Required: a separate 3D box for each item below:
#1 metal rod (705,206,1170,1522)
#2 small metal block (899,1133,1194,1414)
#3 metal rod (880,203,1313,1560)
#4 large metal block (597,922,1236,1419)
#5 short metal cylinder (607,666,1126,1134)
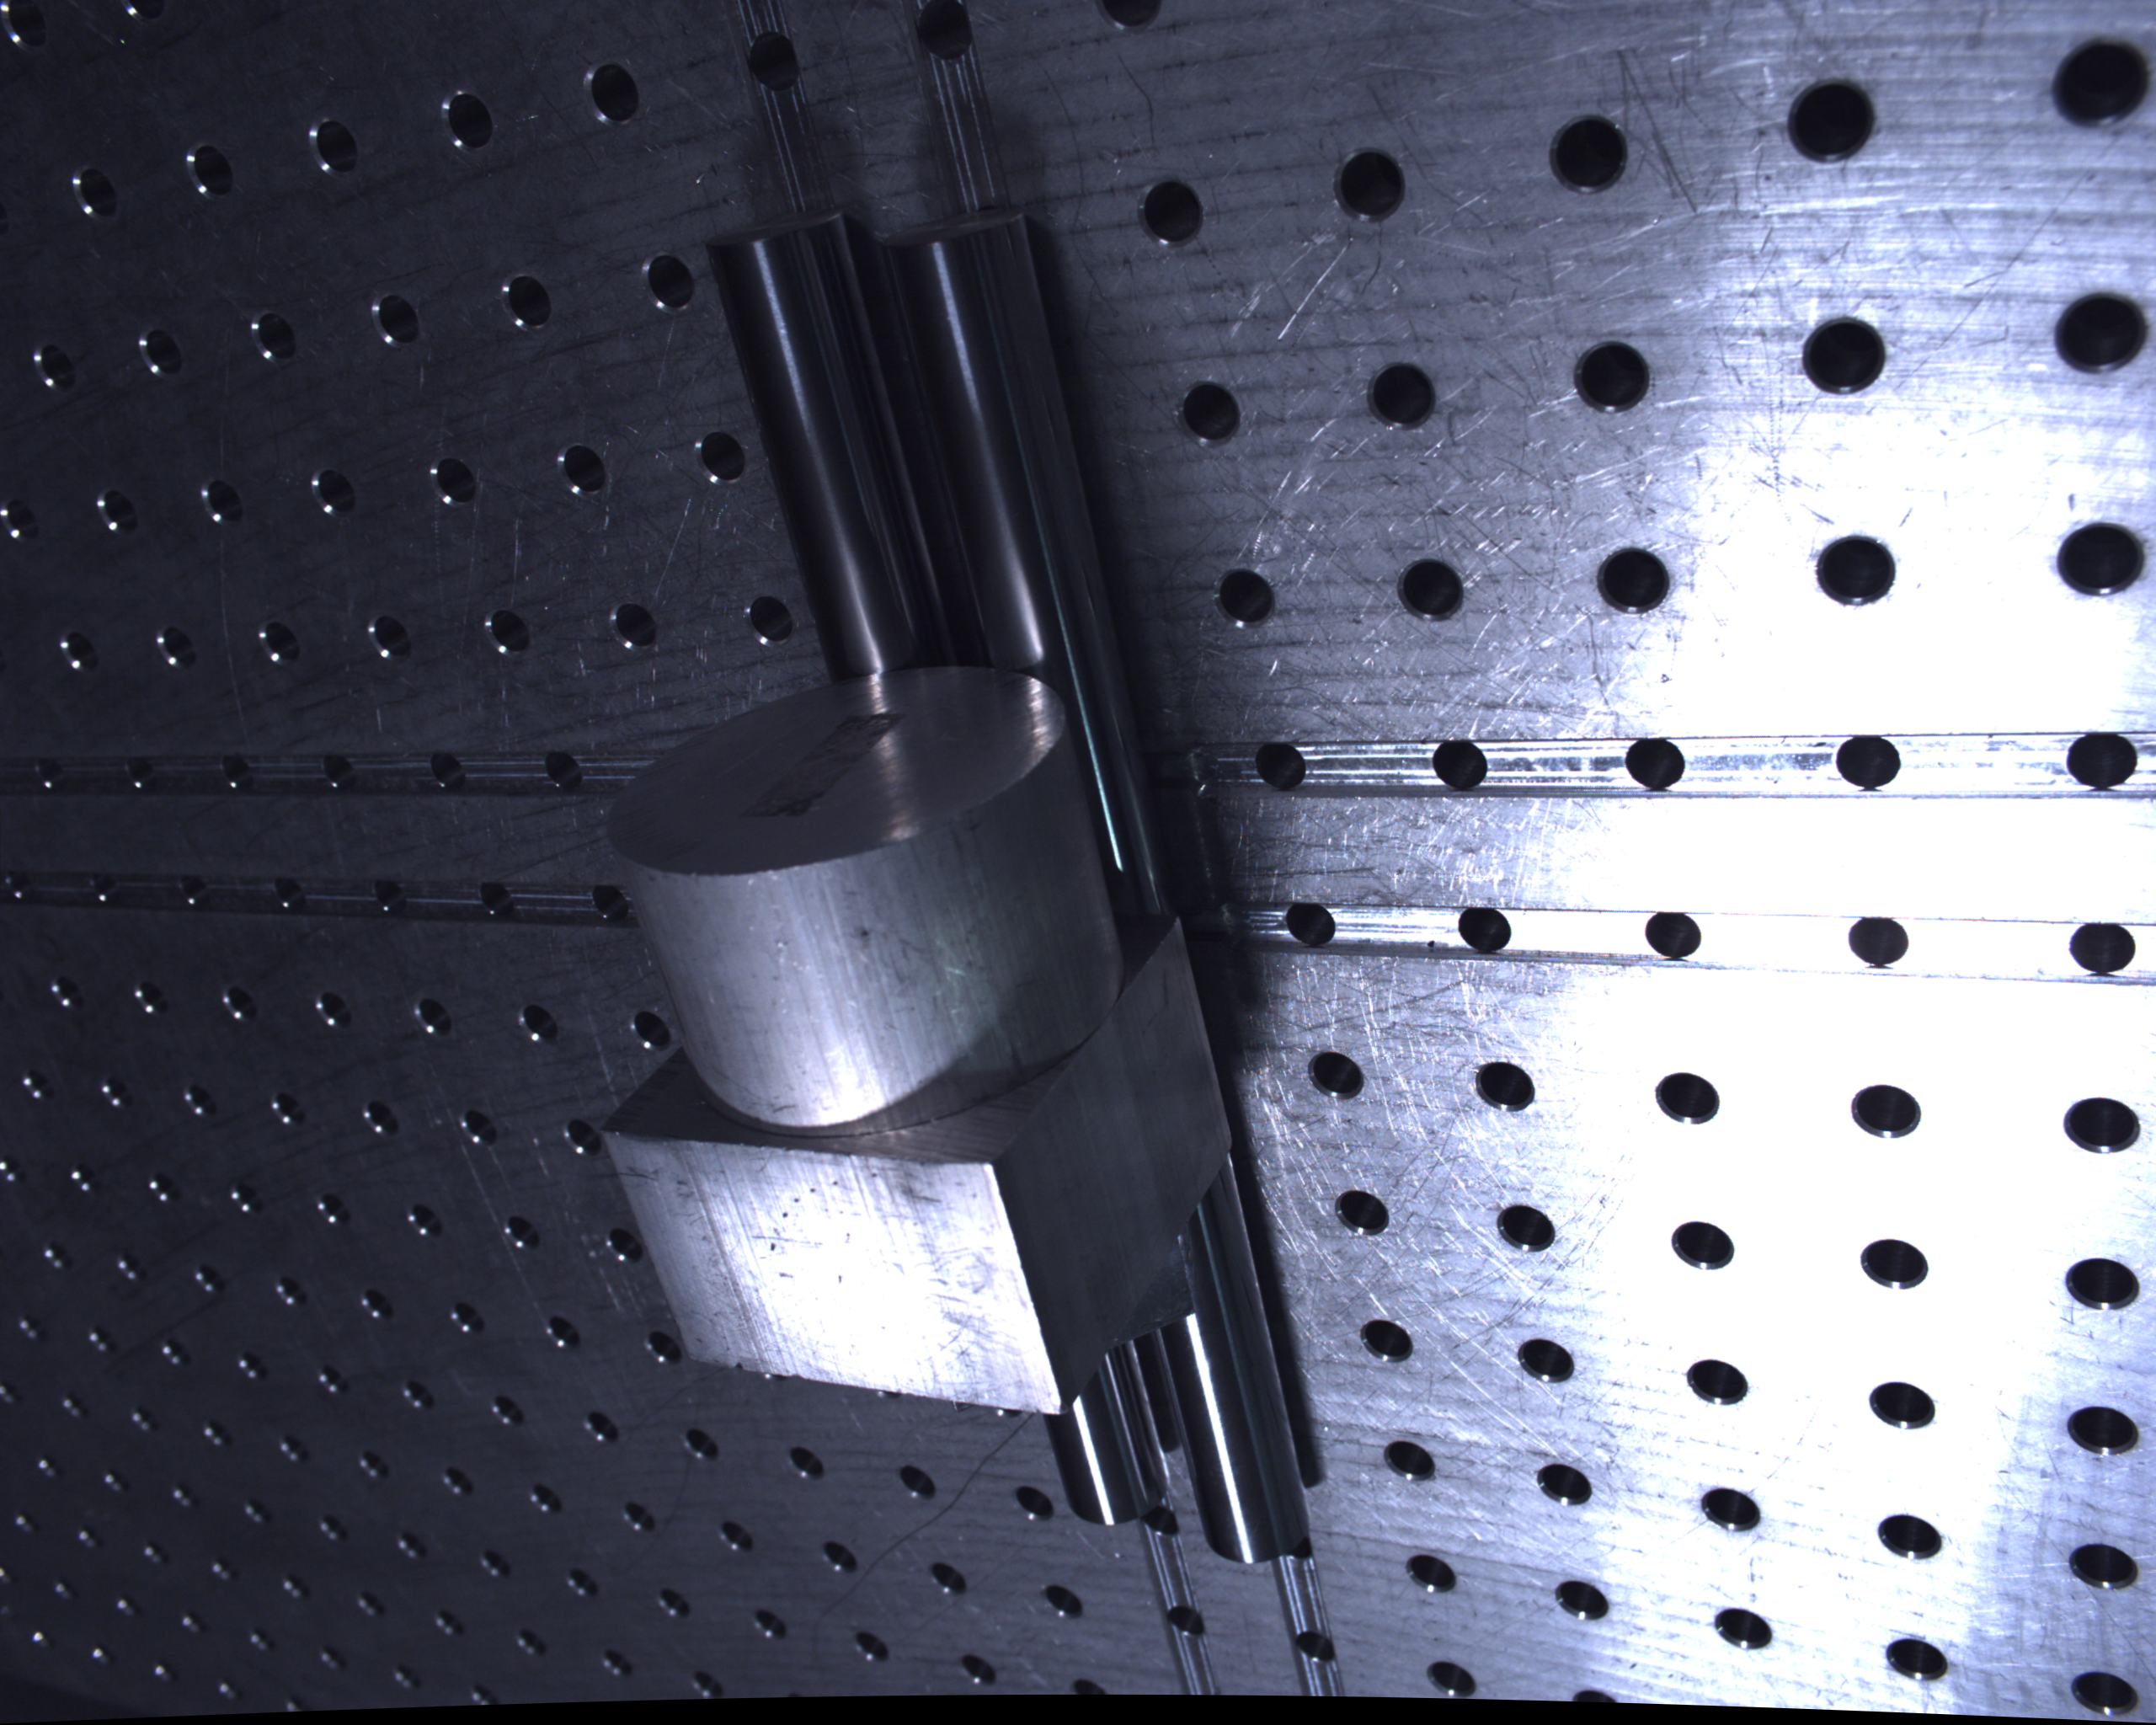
[{"bbox_3d":[-0.022,0.018,0.434,0.025,0.025,0.298,1,119,27],"label":"metal rod"},{"bbox_3d":[-0.011,0.077,0.418,0.050,0.050,0.025,-19,116,-13],"label":"small metal block"},{"bbox_3d":[0.010,0.022,0.419,0.025,0.025,0.298,1,119,27],"label":"metal rod"},{"bbox_3d":[-0.026,0.052,0.388,0.080,0.080,0.050,1,119,27],"label":"large metal block"},{"bbox_3d":[-0.036,0.004,0.368,0.080,0.080,0.050,1,119,27],"label":"short metal cylinder"}]
